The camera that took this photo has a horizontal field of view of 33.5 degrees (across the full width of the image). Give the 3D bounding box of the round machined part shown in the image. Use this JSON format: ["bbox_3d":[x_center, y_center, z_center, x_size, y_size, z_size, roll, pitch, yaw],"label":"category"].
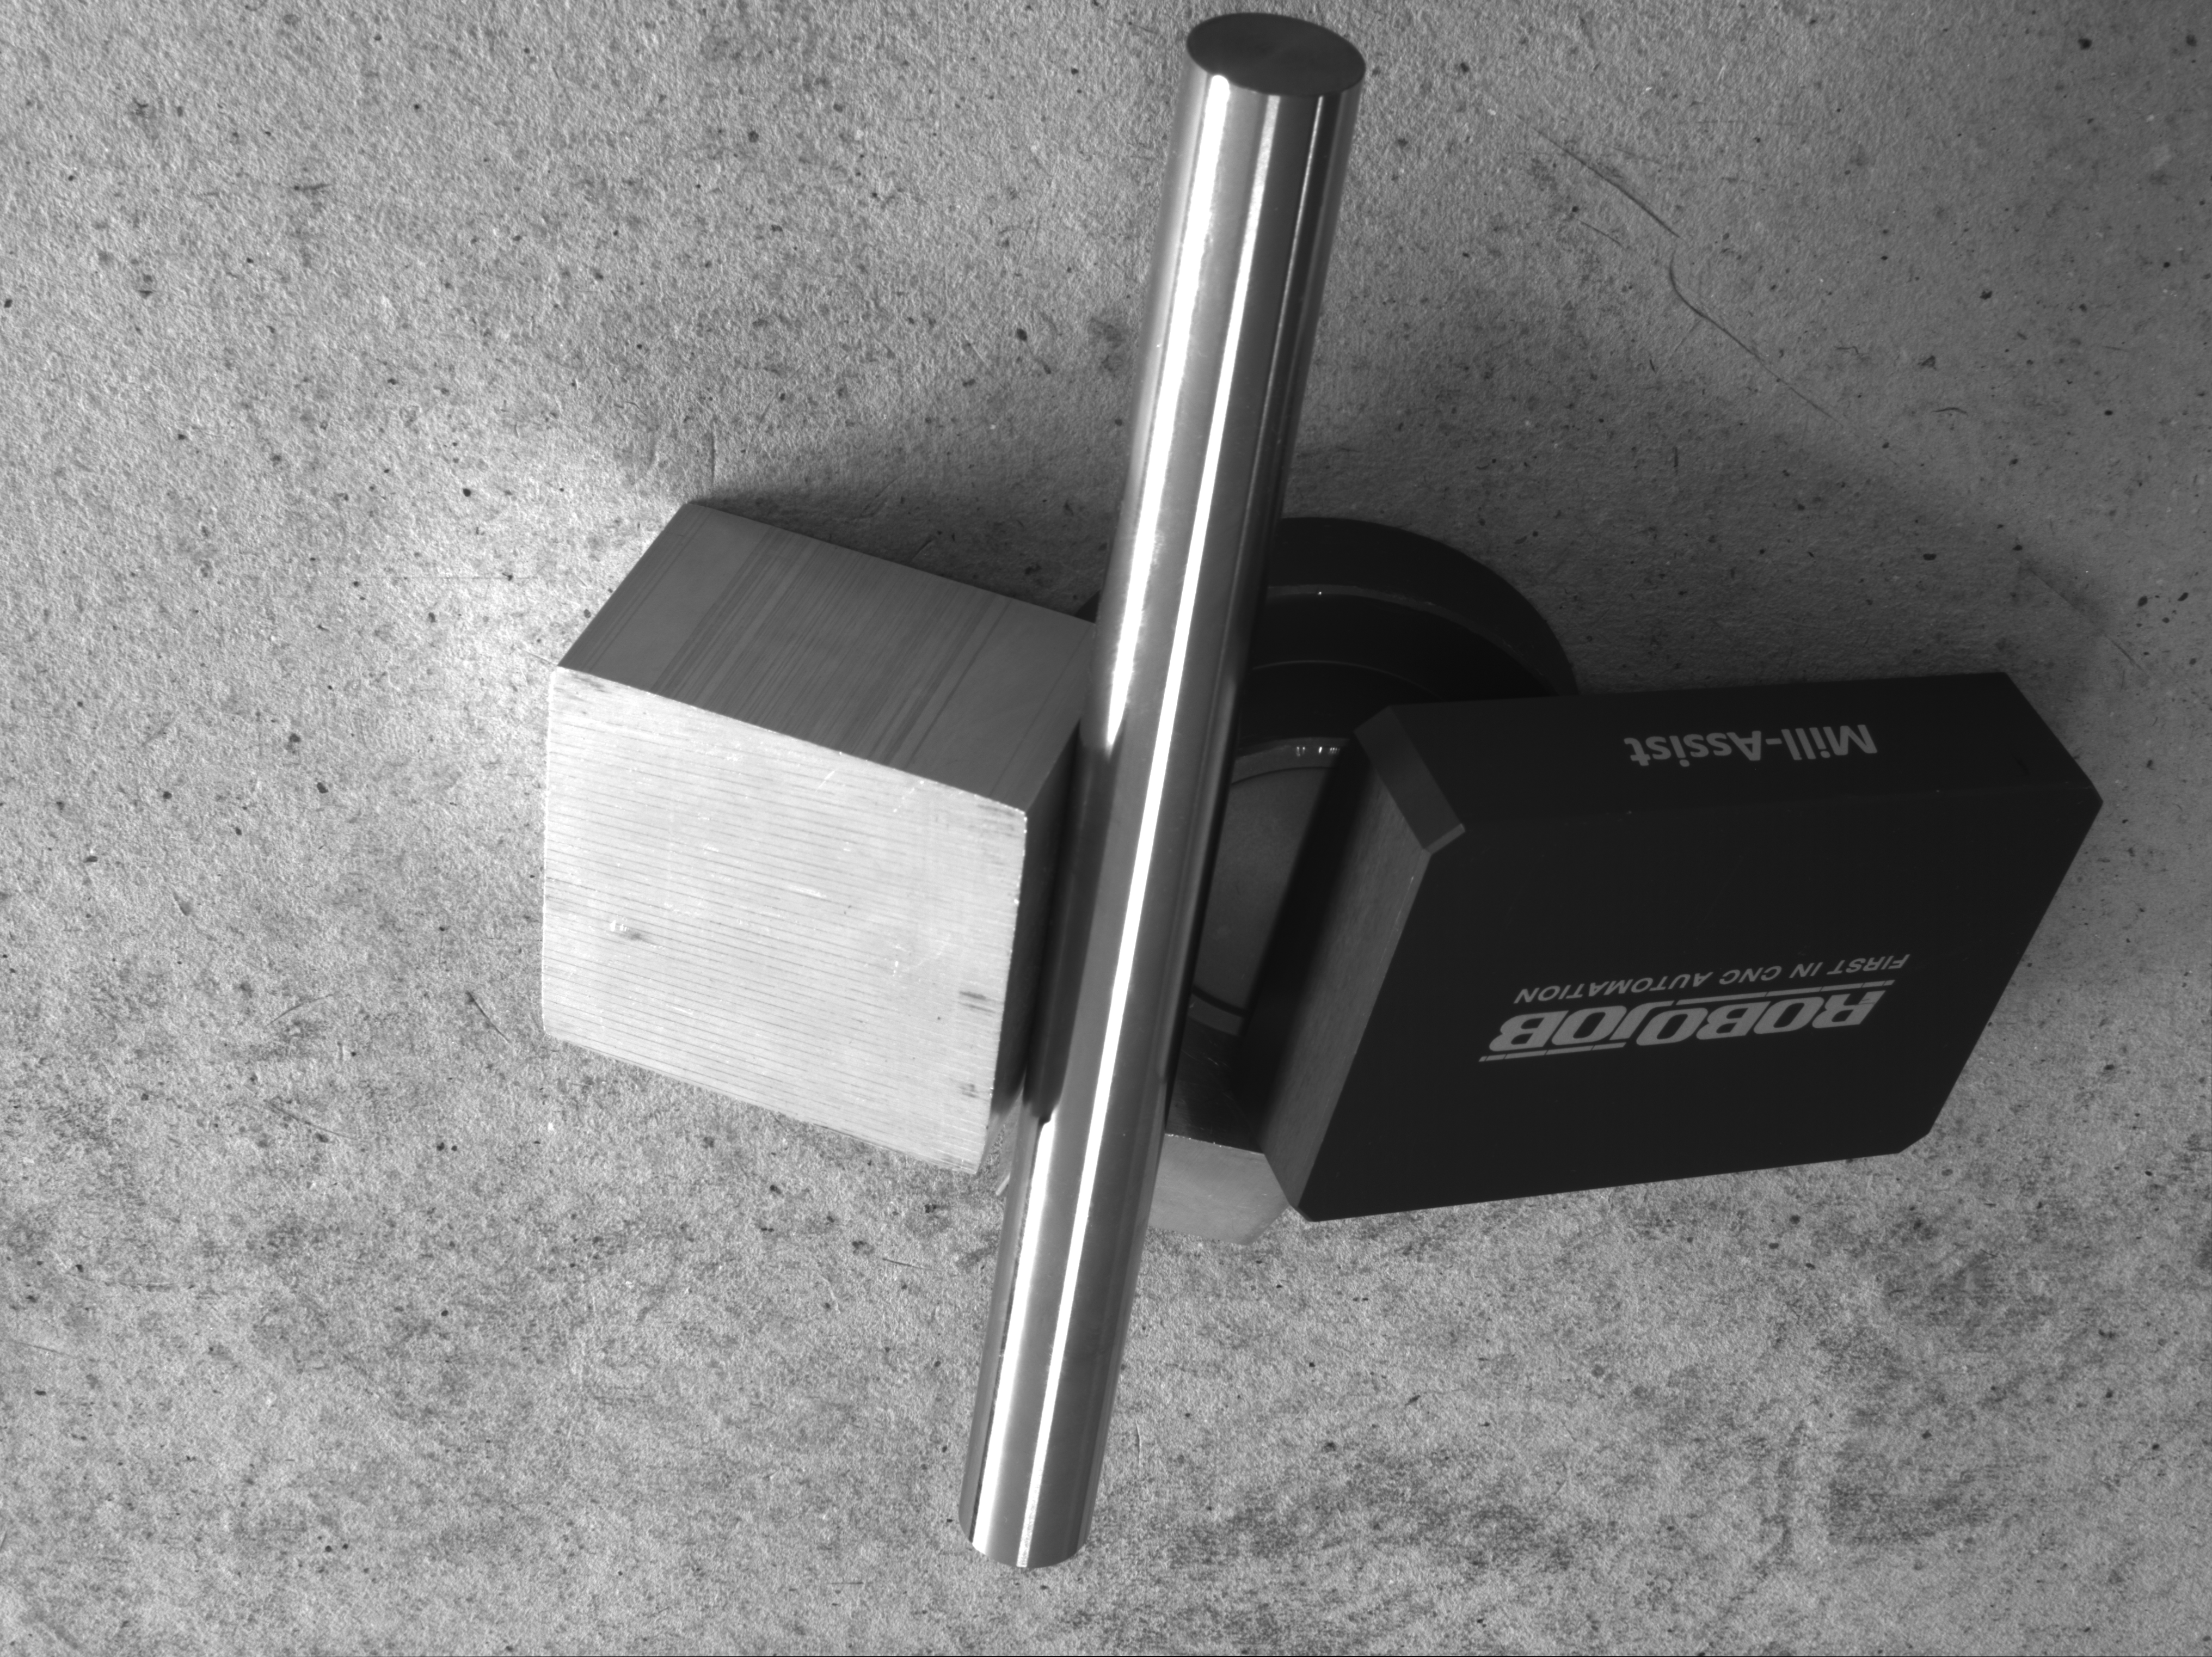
[{"bbox_3d":[0.035,-0.001,0.628,0.098,0.042,0.098,0,130,0],"label":"round machined part"}]

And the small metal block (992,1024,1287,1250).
[{"bbox_3d":[0.010,0.053,0.672,0.050,0.025,0.050,12,154,-9],"label":"small metal block"}]

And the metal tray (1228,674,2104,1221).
[{"bbox_3d":[0.094,0.020,0.624,0.130,0.030,0.090,-4,134,-24],"label":"metal tray"}]

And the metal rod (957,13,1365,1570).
[{"bbox_3d":[0.004,0.011,0.595,0.025,0.025,0.300,6,128,-5],"label":"metal rod"}]

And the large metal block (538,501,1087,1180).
[{"bbox_3d":[-0.046,0.002,0.611,0.080,0.050,0.080,17,130,9],"label":"large metal block"}]
